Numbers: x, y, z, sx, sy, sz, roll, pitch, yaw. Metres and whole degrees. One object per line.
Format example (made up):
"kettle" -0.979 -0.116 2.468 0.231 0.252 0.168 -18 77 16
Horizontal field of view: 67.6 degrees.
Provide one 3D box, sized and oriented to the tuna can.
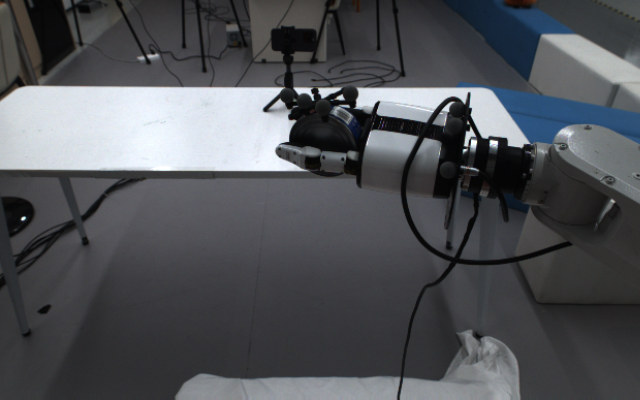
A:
"tuna can" 0.010 -0.074 0.587 0.085 0.085 0.034 14 40 16
